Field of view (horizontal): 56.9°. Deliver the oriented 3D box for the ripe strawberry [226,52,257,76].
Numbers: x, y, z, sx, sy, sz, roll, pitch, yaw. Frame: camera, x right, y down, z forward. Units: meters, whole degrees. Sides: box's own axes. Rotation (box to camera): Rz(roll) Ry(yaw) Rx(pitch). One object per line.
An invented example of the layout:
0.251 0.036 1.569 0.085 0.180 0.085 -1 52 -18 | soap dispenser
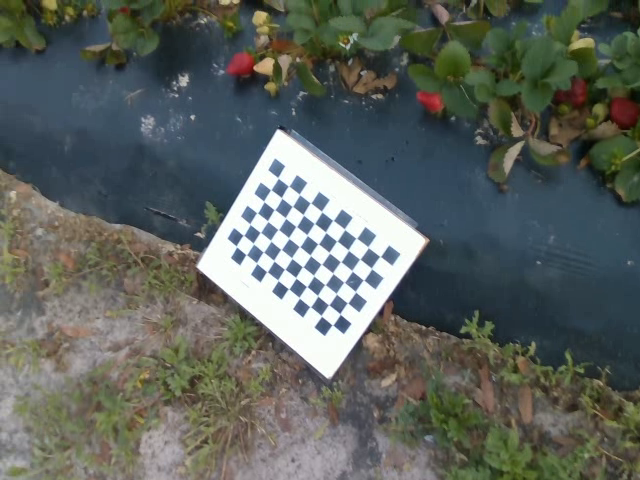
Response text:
-0.131 -0.286 0.965 0.050 0.059 0.034 27 -34 17 | ripe strawberry
